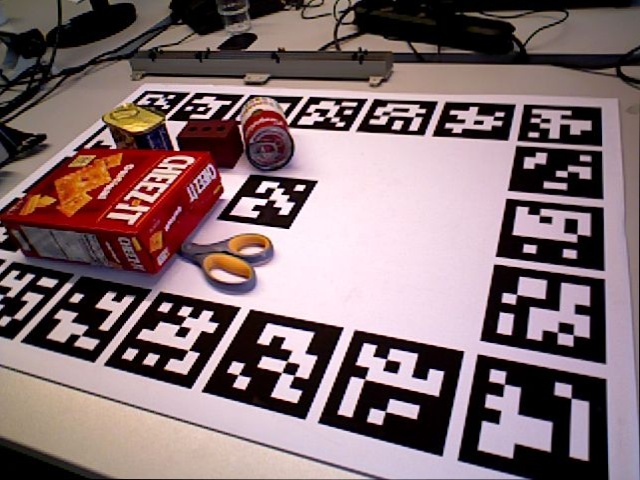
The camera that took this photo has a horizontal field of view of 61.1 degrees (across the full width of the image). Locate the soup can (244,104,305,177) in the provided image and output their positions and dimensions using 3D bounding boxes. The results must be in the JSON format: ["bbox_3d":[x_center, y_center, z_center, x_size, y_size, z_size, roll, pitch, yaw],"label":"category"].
[{"bbox_3d":[-0.066,-0.141,0.758,0.067,0.069,0.101,-19,37,-7],"label":"soup can"}]

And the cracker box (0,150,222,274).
[{"bbox_3d":[-0.252,-0.042,0.661,0.215,0.073,0.160,1,43,20],"label":"cracker box"}]

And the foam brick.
[{"bbox_3d":[-0.151,-0.132,0.772,0.078,0.052,0.051,0,44,14],"label":"foam brick"}]

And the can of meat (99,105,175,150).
[{"bbox_3d":[-0.253,-0.137,0.773,0.102,0.085,0.056,20,51,30],"label":"can of meat"}]

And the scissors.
[{"bbox_3d":[-0.152,0.019,0.617,0.203,0.016,0.086,4,45,18],"label":"scissors"}]
